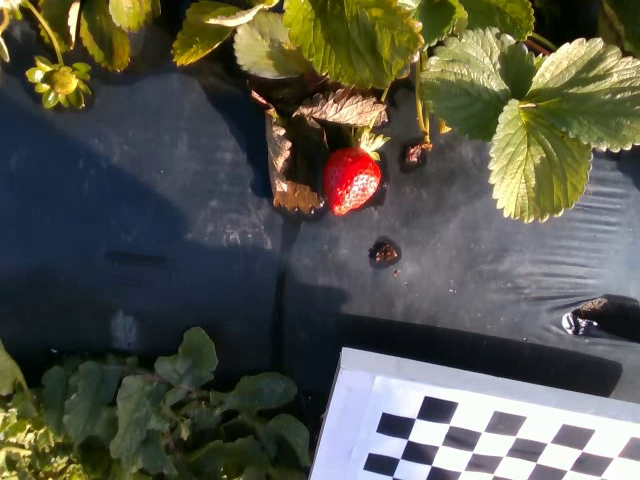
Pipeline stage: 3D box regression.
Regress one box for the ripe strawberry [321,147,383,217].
[{"bbox_3d":[0.015,-0.026,0.348,0.046,0.054,0.037,28,-12,-14],"label":"ripe strawberry"}]
